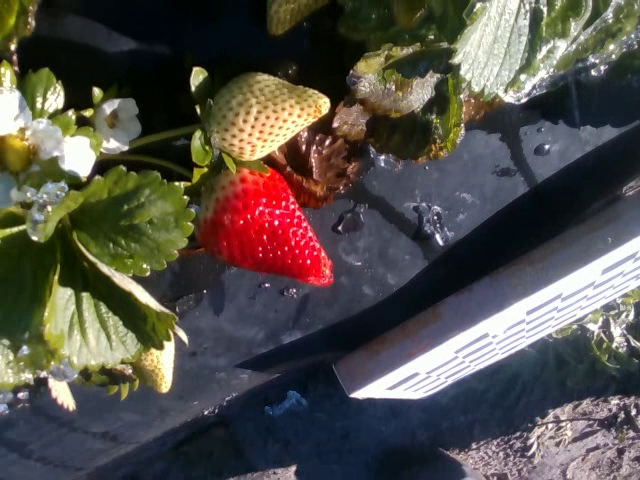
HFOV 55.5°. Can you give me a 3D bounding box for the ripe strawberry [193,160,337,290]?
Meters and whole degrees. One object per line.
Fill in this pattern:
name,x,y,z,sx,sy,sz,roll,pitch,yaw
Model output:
ripe strawberry,-0.016,-0.001,0.202,0.040,0.053,0.042,-53,-5,39
